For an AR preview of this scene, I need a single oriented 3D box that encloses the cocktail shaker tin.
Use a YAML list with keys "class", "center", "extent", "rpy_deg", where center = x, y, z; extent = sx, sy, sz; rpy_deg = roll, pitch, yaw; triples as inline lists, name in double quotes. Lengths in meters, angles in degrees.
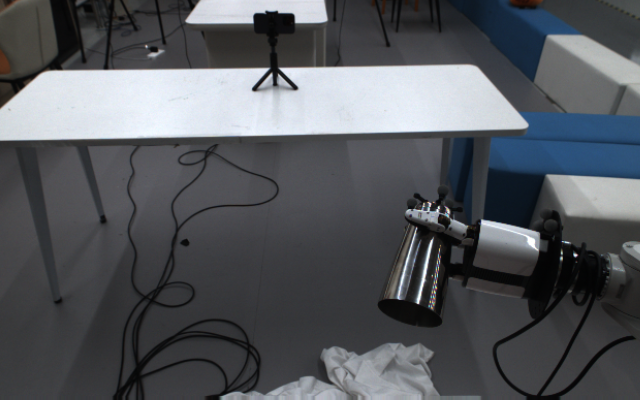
- class: "cocktail shaker tin"
  center: [0.151, 0.085, 0.717]
  extent: [0.093, 0.093, 0.170]
  rpy_deg: [13, 59, 16]
